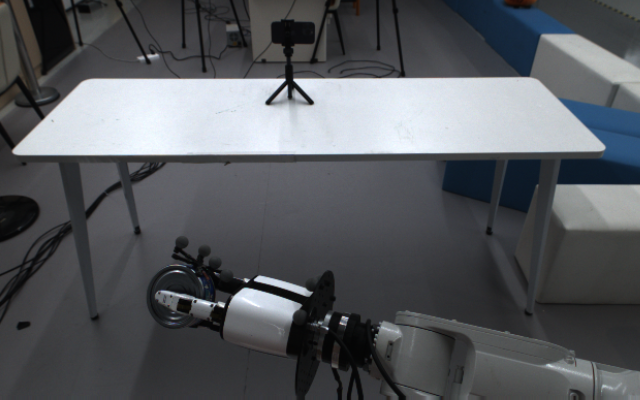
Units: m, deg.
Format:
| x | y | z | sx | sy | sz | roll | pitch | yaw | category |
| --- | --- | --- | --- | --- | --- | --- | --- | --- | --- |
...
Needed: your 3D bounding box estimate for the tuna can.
| x | y | z | sx | sy | sz | roll | pitch | yaw | category |
| --- | --- | --- | --- | --- | --- | --- | --- | --- | --- |
| -0.184 | 0.128 | 0.644 | 0.085 | 0.085 | 0.034 | 12 | -4 | 15 | tuna can |
